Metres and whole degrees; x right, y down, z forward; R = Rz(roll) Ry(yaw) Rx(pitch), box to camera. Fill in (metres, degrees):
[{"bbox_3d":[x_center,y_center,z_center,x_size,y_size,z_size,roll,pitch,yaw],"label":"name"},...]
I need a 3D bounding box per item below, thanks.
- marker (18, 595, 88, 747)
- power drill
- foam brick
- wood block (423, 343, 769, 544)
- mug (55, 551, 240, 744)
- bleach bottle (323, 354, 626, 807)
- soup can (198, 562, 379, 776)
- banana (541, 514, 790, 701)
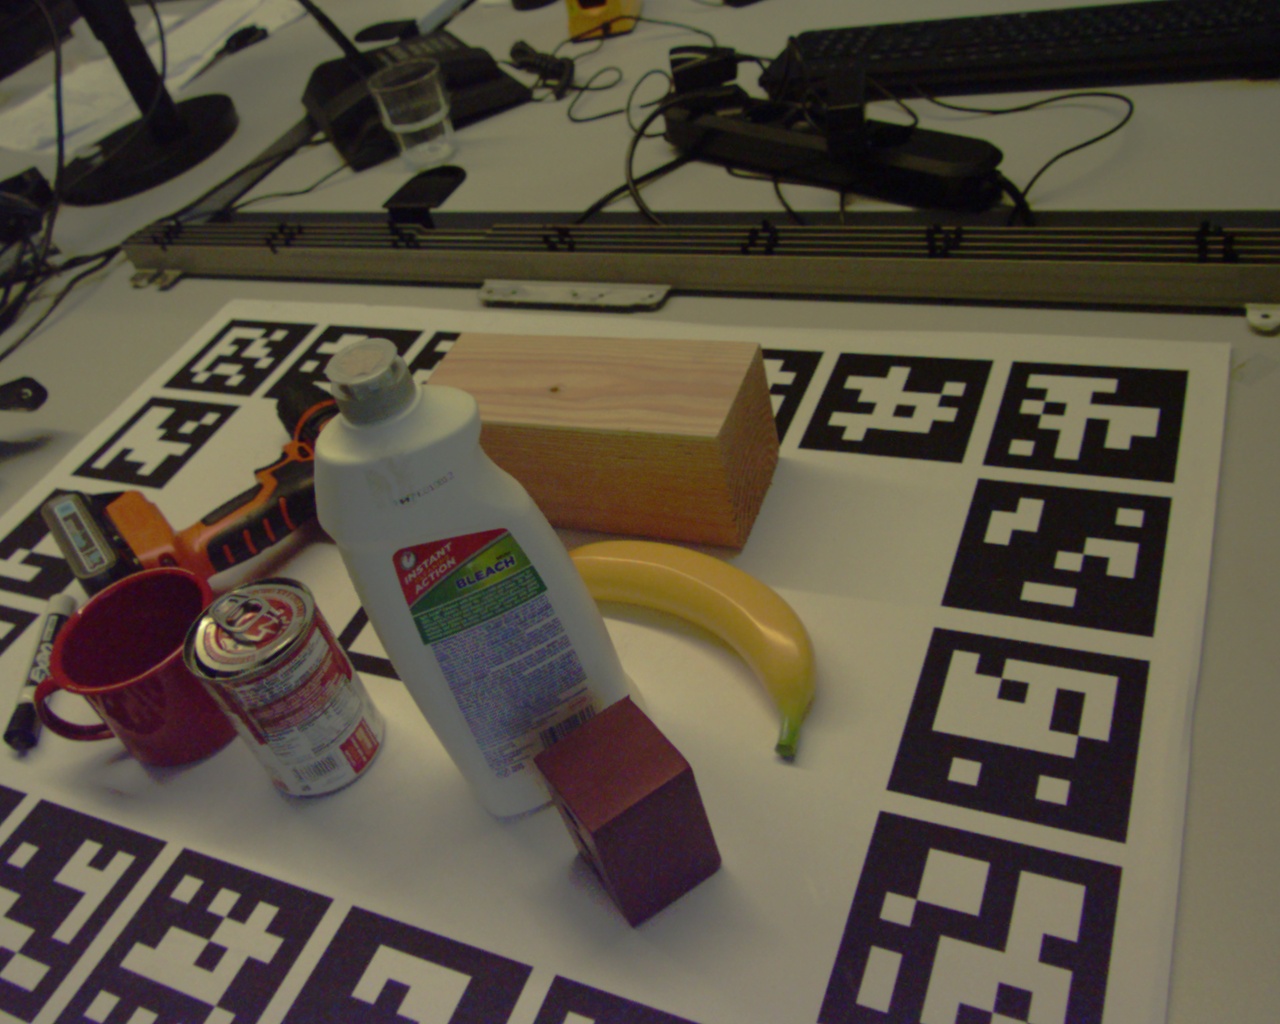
[{"bbox_3d":[-0.385,0.103,0.750,0.020,0.019,0.122,-16,42,4],"label":"marker"},{"bbox_3d":[-0.271,-0.003,0.803,0.186,0.057,0.187,-35,47,-21],"label":"power drill"},{"bbox_3d":[-0.007,0.135,0.540,0.051,0.077,0.053,-30,40,-18],"label":"foam brick"},{"bbox_3d":[-0.032,-0.046,0.738,0.208,0.090,0.089,6,47,25],"label":"wood block"},{"bbox_3d":[-0.286,0.090,0.679,0.117,0.081,0.094,-27,44,-7],"label":"mug"},{"bbox_3d":[-0.079,0.031,0.546,0.102,0.249,0.069,-34,43,-20],"label":"bleach bottle"},{"bbox_3d":[-0.189,0.088,0.625,0.068,0.101,0.068,-8,38,6],"label":"soup can"},{"bbox_3d":[0.012,0.039,0.662,0.200,0.038,0.074,22,68,34],"label":"banana"}]
